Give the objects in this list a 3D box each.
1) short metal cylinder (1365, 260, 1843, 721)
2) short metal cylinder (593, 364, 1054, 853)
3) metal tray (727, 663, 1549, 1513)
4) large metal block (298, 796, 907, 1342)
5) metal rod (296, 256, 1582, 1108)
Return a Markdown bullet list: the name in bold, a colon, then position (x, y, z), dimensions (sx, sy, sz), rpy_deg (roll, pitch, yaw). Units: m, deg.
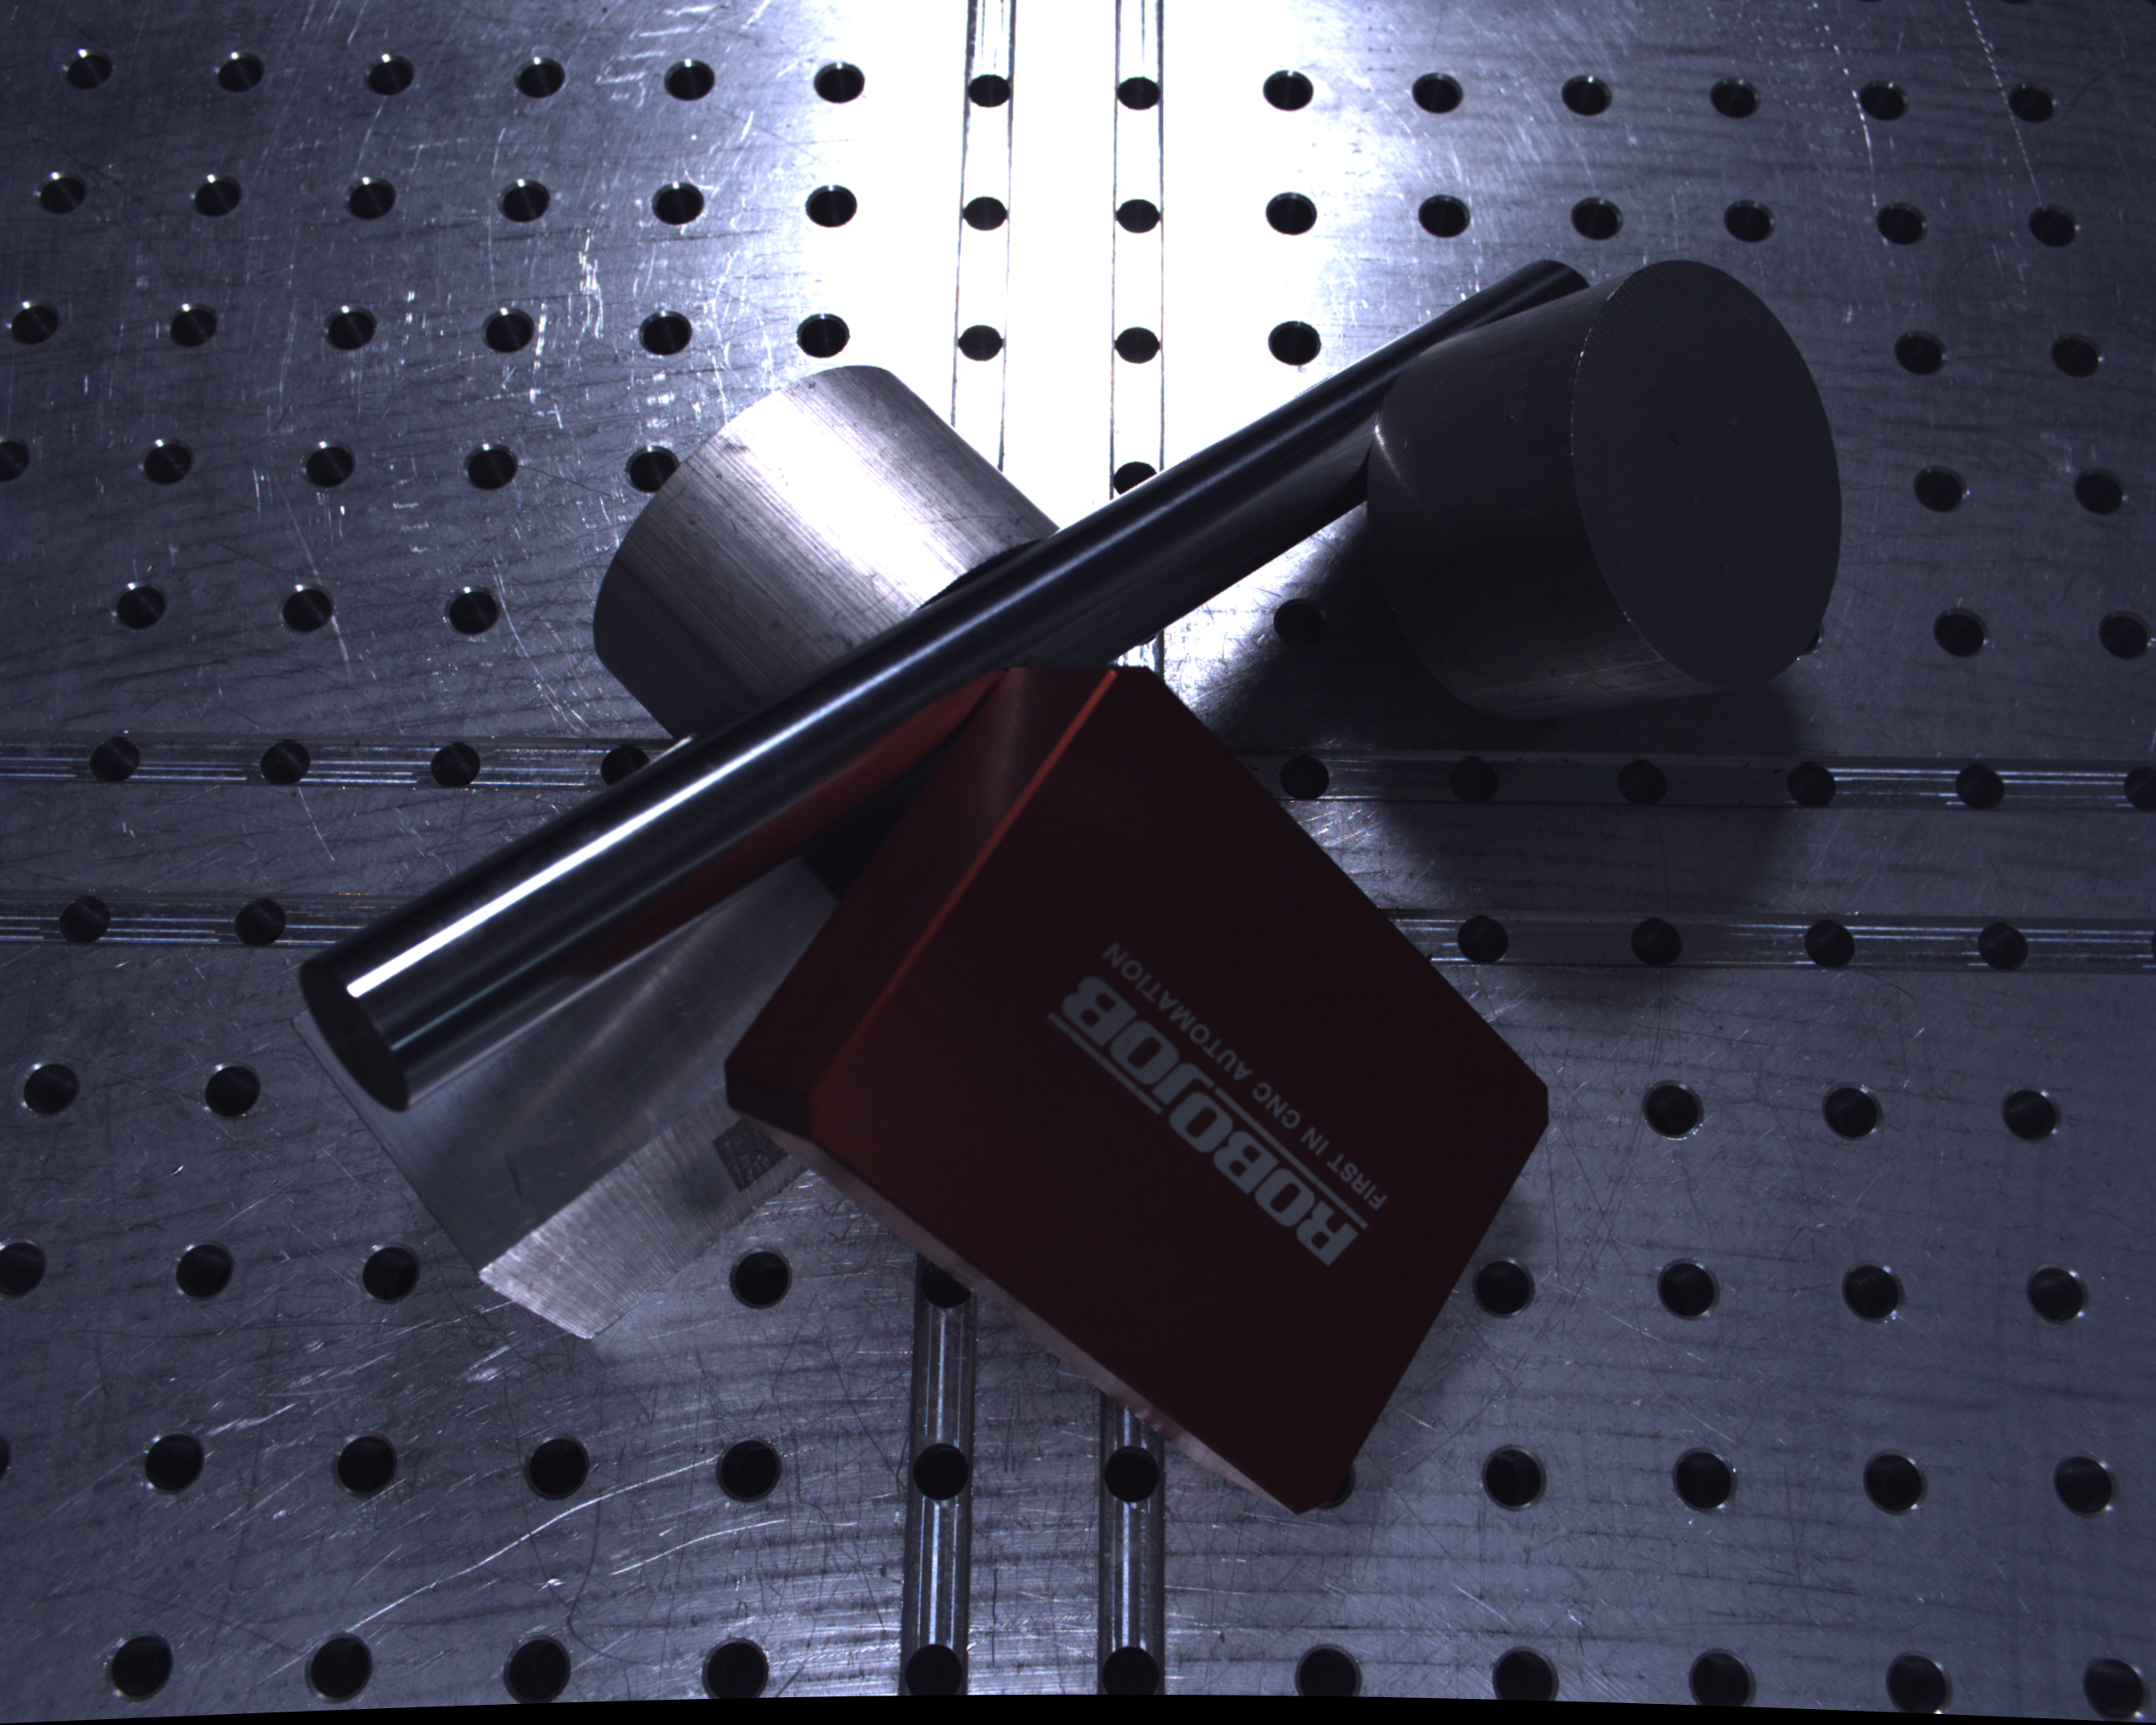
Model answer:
- **short metal cylinder**: position (0.102, -0.070, 0.404), dimensions (0.081, 0.050, 0.080), rpy_deg (3, 84, -37)
- **short metal cylinder**: position (-0.044, -0.048, 0.399), dimensions (0.080, 0.080, 0.050), rpy_deg (-42, 76, -14)
- **metal tray**: position (0.017, 0.039, 0.353), dimensions (0.130, 0.030, 0.090), rpy_deg (44, 70, -30)
- **large metal block**: position (-0.076, 0.034, 0.368), dimensions (0.080, 0.080, 0.050), rpy_deg (-38, 75, -13)
- **metal rod**: position (0.001, -0.049, 0.373), dimensions (0.025, 0.025, 0.302), rpy_deg (45, 55, 14)
